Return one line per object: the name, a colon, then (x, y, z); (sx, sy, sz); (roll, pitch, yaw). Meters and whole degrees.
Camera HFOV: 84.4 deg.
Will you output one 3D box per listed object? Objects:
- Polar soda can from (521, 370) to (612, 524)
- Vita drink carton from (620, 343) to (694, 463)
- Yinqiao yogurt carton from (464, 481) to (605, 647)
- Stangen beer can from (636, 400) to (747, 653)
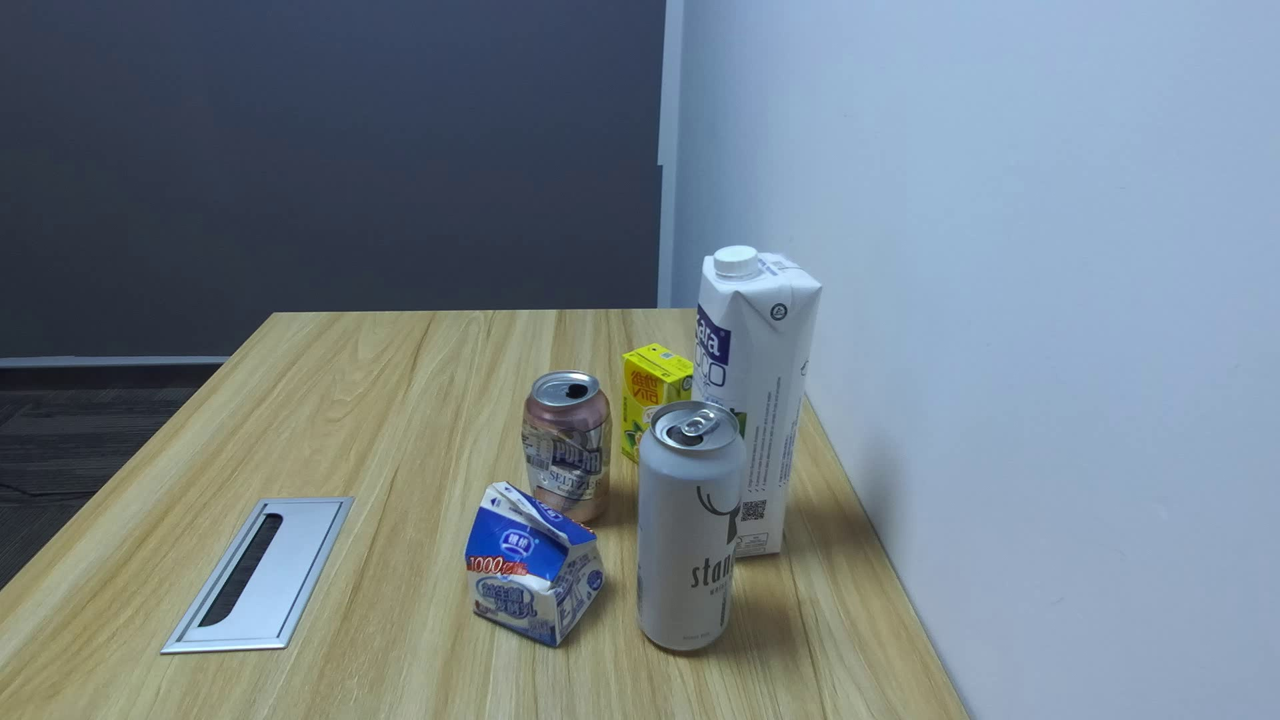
Polar soda can: (-0.057, 0.075, 0.586); (0.067, 0.122, 0.074); (-12, 28, -24)
Vita drink carton: (0.019, 0.047, 0.644); (0.044, 0.109, 0.066); (-20, 35, -34)
Yinqiao yogurt carton: (-0.076, 0.134, 0.503); (0.083, 0.093, 0.077); (13, 29, 23)
Stangen beer can: (0.031, 0.112, 0.465); (0.067, 0.171, 0.067); (1, 28, 0)
